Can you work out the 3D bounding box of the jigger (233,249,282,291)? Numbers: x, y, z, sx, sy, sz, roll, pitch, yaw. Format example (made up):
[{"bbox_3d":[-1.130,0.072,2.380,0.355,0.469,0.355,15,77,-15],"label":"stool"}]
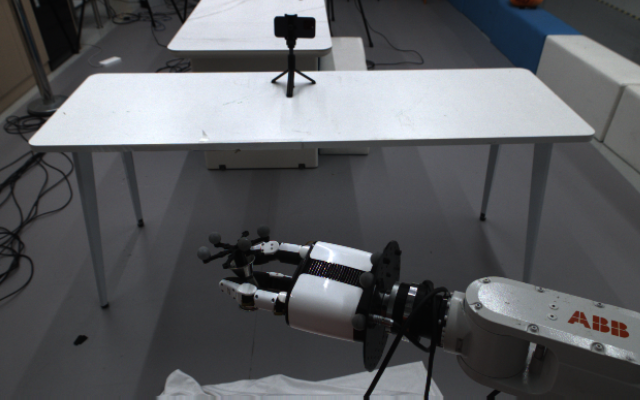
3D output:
[{"bbox_3d":[-0.096,0.108,0.649,0.043,0.071,0.043,-11,24,5],"label":"jigger"}]
